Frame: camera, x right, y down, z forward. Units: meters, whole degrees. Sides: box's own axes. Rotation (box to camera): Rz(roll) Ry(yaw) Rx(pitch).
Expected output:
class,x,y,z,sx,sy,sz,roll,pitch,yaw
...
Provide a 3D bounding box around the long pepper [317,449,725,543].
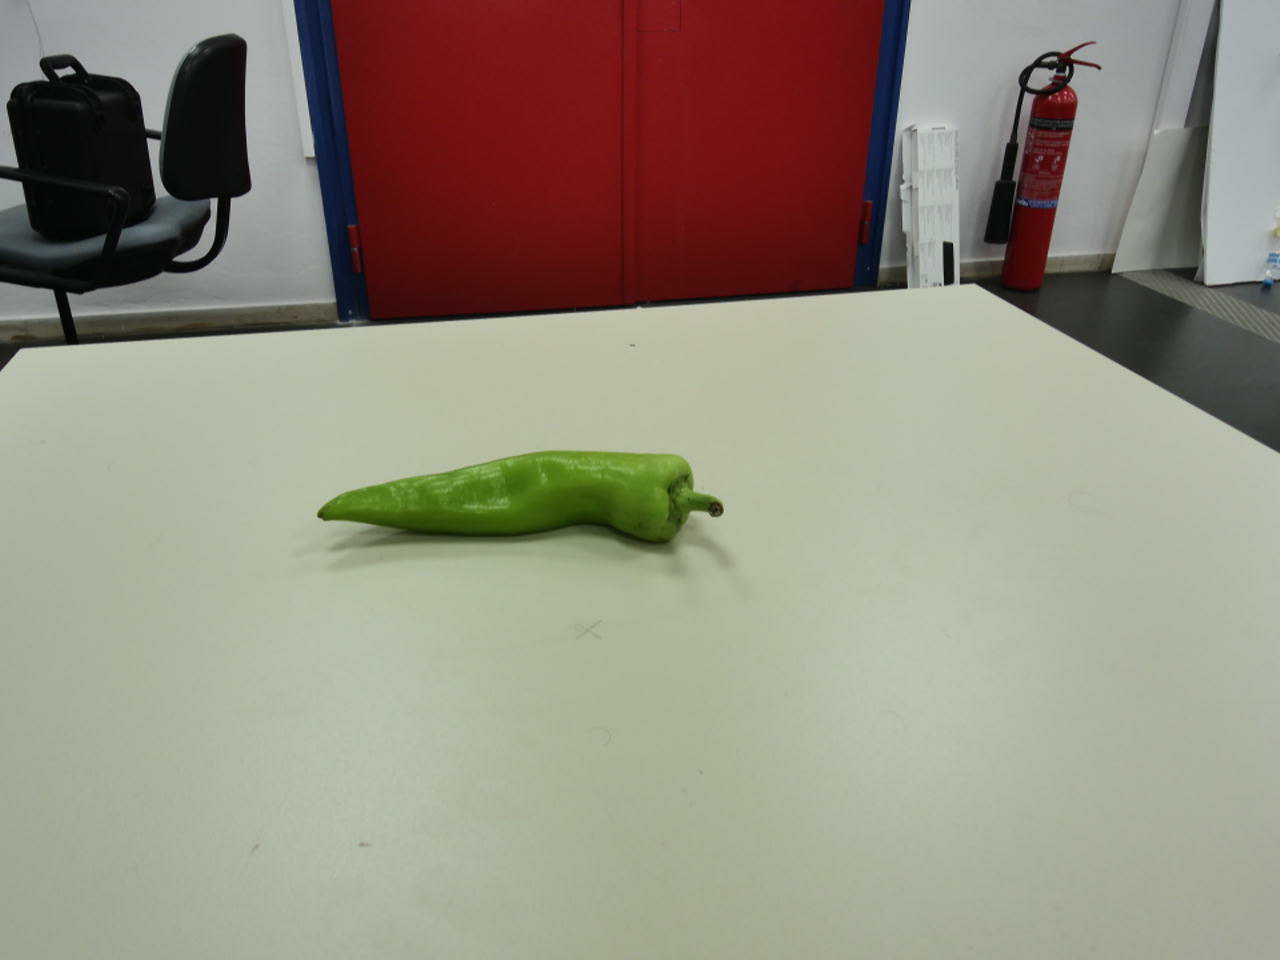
class,x,y,z,sx,sy,sz,roll,pitch,yaw
long pepper,-0.058,0.008,0.522,0.205,0.045,0.065,2,26,3
